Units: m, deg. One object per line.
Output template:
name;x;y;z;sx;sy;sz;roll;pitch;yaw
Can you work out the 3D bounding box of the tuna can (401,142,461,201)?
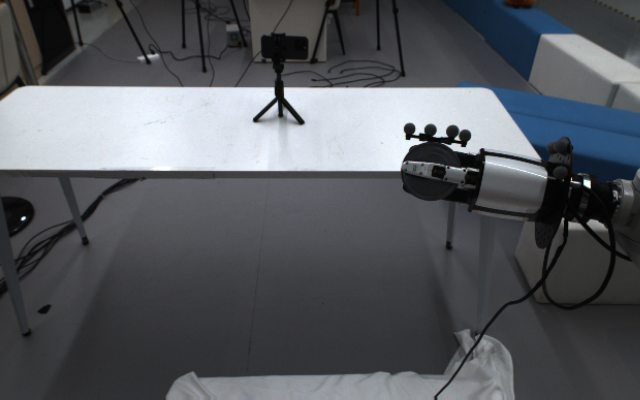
tuna can;0.163;-0.046;0.711;0.085;0.085;0.034;11;2;12
